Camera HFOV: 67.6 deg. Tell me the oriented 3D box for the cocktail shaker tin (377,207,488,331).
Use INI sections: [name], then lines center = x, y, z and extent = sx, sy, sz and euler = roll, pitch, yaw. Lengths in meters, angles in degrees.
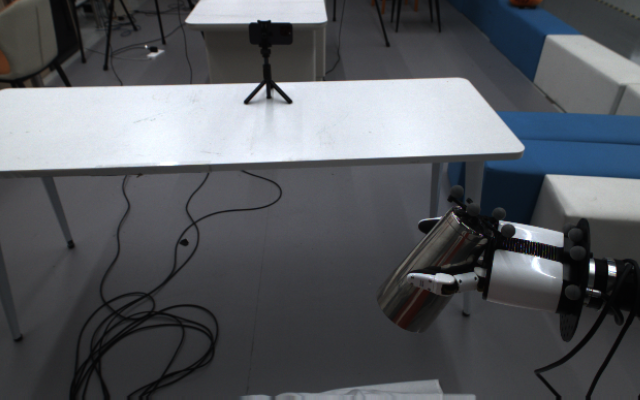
[cocktail shaker tin]
center = 0.162, 0.089, 0.674
extent = 0.093, 0.170, 0.093
euler = 25, 29, -15
